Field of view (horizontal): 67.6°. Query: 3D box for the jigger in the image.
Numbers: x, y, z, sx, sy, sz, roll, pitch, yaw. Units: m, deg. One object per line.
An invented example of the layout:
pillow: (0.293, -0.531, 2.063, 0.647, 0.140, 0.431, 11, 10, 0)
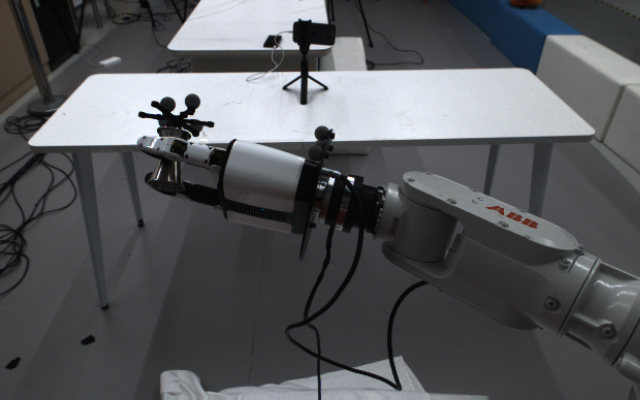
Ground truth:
jigger: (-0.181, -0.049, 0.576, 0.043, 0.043, 0.071, 3, 75, 2)
